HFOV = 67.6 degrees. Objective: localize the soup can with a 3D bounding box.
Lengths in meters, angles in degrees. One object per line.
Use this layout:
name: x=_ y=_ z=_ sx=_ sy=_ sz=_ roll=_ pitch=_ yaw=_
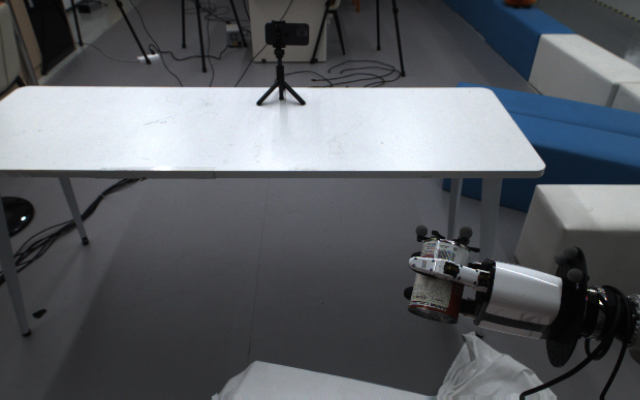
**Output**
soup can: x=0.167 y=0.110 z=0.670 sx=0.067 sy=0.067 sz=0.101 roll=12 pitch=69 yaw=14
